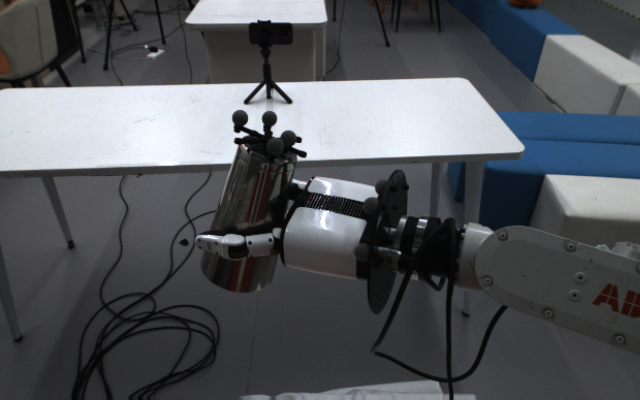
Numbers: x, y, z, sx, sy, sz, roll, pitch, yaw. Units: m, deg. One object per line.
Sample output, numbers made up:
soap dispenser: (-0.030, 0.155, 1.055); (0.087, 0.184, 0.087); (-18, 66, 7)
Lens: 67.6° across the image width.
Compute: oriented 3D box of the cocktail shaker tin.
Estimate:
cocktail shaker tin: (-0.078, 0.012, 0.570); (0.093, 0.170, 0.093); (14, 27, -7)
